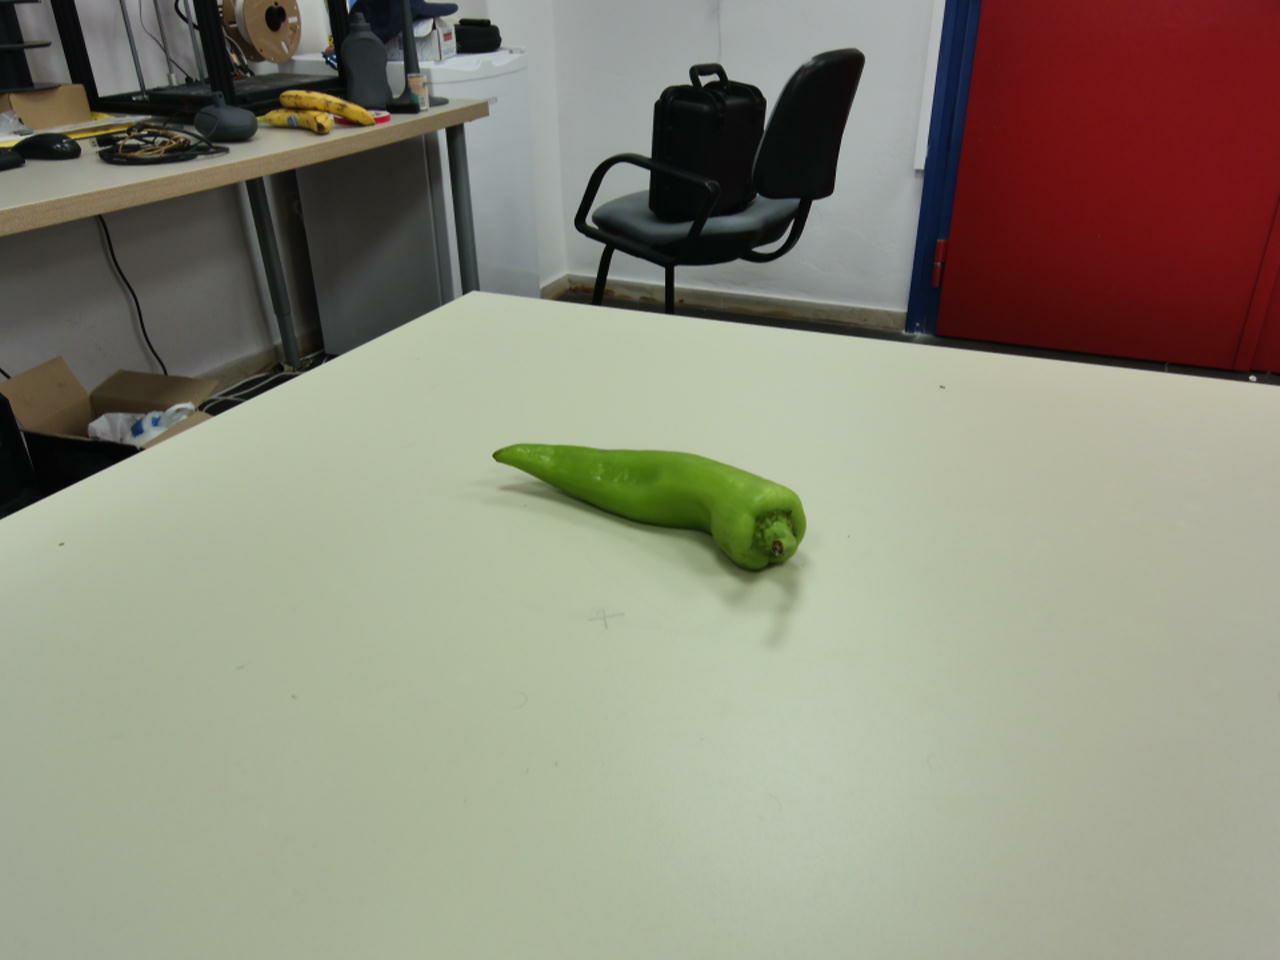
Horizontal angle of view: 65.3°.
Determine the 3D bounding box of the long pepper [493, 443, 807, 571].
[{"bbox_3d":[0.010,0.005,0.550,0.205,0.045,0.065,20,32,37],"label":"long pepper"}]
